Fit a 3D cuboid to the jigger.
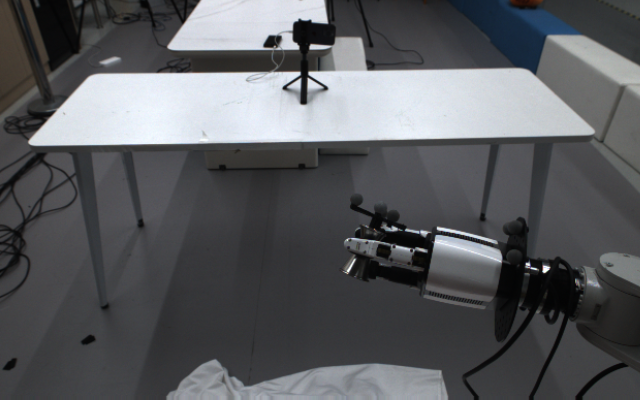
[{"bbox_3d":[0.057,0.069,0.646,0.043,0.071,0.043,24,-3,1],"label":"jigger"}]
